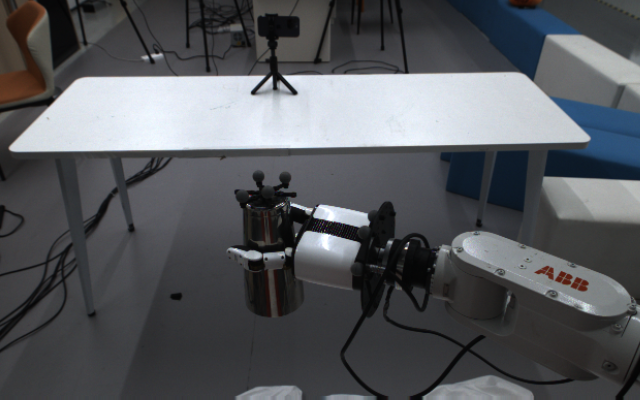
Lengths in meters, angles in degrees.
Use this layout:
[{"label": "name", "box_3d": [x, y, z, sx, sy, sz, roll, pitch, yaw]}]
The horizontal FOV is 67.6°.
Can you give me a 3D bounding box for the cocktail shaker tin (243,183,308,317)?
[{"label": "cocktail shaker tin", "box_3d": [-0.071, 0.074, 0.710, 0.093, 0.170, 0.093, -2, 26, 1]}]
